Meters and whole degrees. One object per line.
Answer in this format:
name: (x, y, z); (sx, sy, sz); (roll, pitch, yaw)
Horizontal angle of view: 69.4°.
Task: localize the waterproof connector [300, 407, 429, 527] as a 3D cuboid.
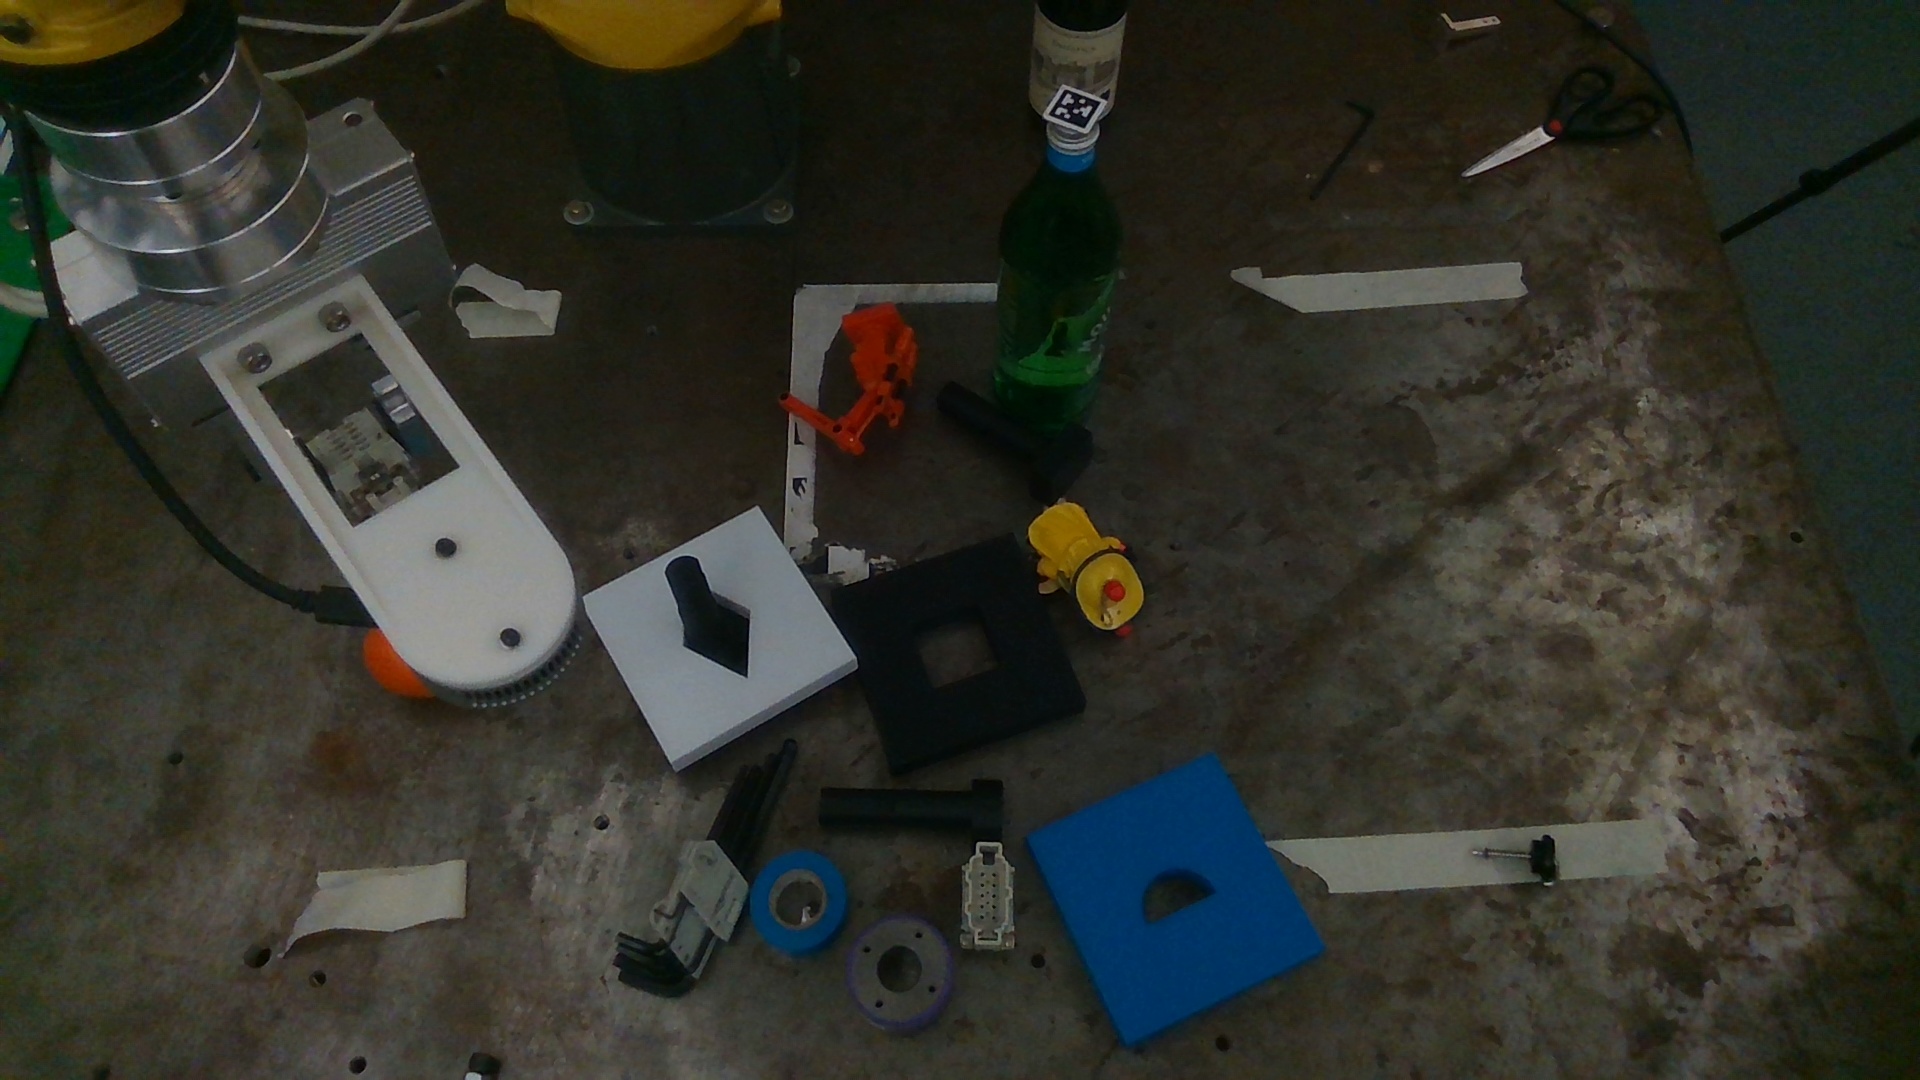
waterproof connector: (-0.272, -0.031, 0.635); (0.036, 0.038, 0.069); (-37, 40, -20)
